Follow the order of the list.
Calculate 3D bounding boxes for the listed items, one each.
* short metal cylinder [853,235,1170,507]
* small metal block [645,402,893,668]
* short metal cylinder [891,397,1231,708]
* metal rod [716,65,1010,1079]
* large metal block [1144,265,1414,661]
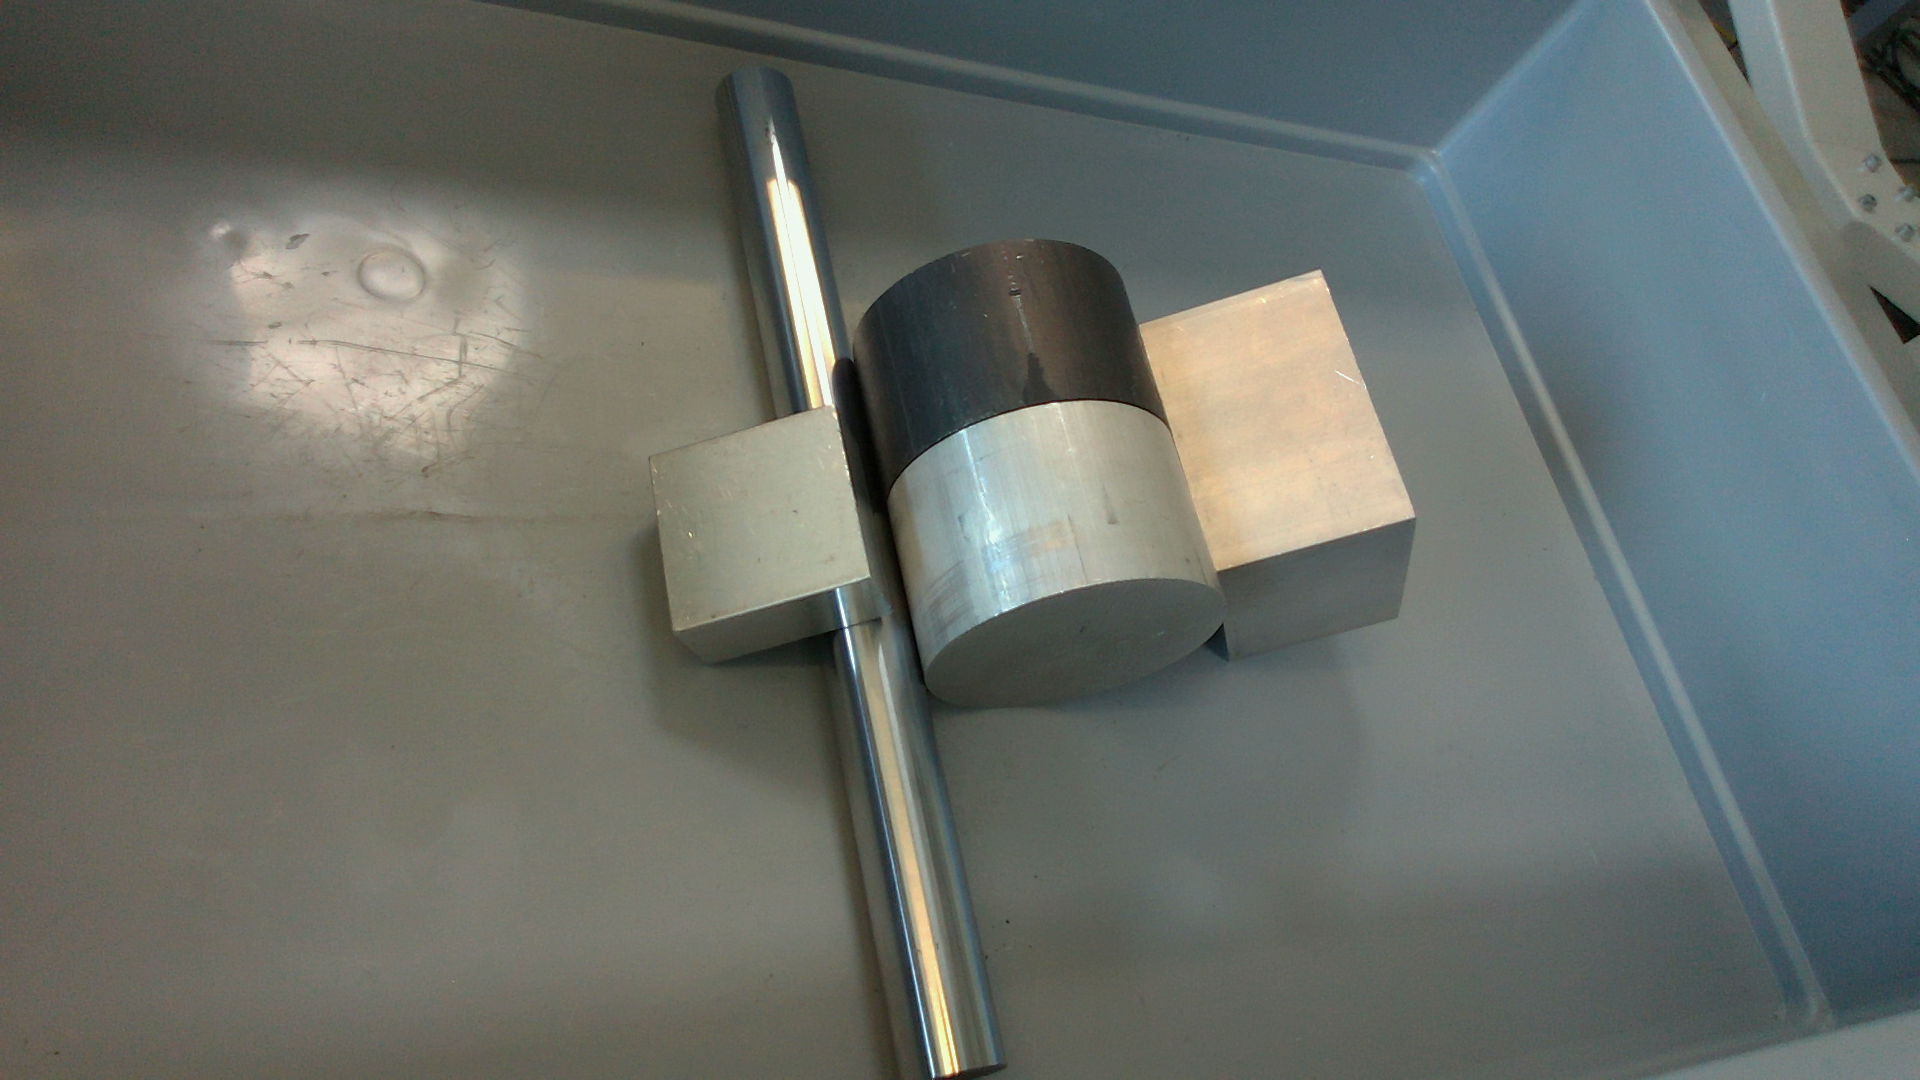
[{"bbox_3d":[0.014,-0.039,0.384,0.080,0.080,0.050,1,61,-28],"label":"short metal cylinder"},{"bbox_3d":[-0.048,-0.001,0.348,0.050,0.025,0.050,-16,64,3],"label":"small metal block"},{"bbox_3d":[0.025,0.006,0.362,0.080,0.080,0.050,1,61,-28],"label":"short metal cylinder"},{"bbox_3d":[-0.033,-0.010,0.375,0.025,0.025,0.300,1,61,-28],"label":"metal rod"},{"bbox_3d":[0.092,-0.019,0.404,0.050,0.080,0.080,-16,65,7],"label":"large metal block"}]
